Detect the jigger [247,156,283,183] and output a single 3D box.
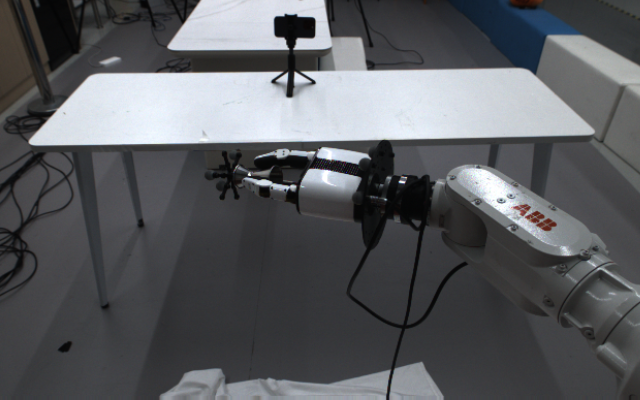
[{"bbox_3d":[-0.091,-0.042,0.765,0.071,0.043,0.043,4,33,24],"label":"jigger"}]
